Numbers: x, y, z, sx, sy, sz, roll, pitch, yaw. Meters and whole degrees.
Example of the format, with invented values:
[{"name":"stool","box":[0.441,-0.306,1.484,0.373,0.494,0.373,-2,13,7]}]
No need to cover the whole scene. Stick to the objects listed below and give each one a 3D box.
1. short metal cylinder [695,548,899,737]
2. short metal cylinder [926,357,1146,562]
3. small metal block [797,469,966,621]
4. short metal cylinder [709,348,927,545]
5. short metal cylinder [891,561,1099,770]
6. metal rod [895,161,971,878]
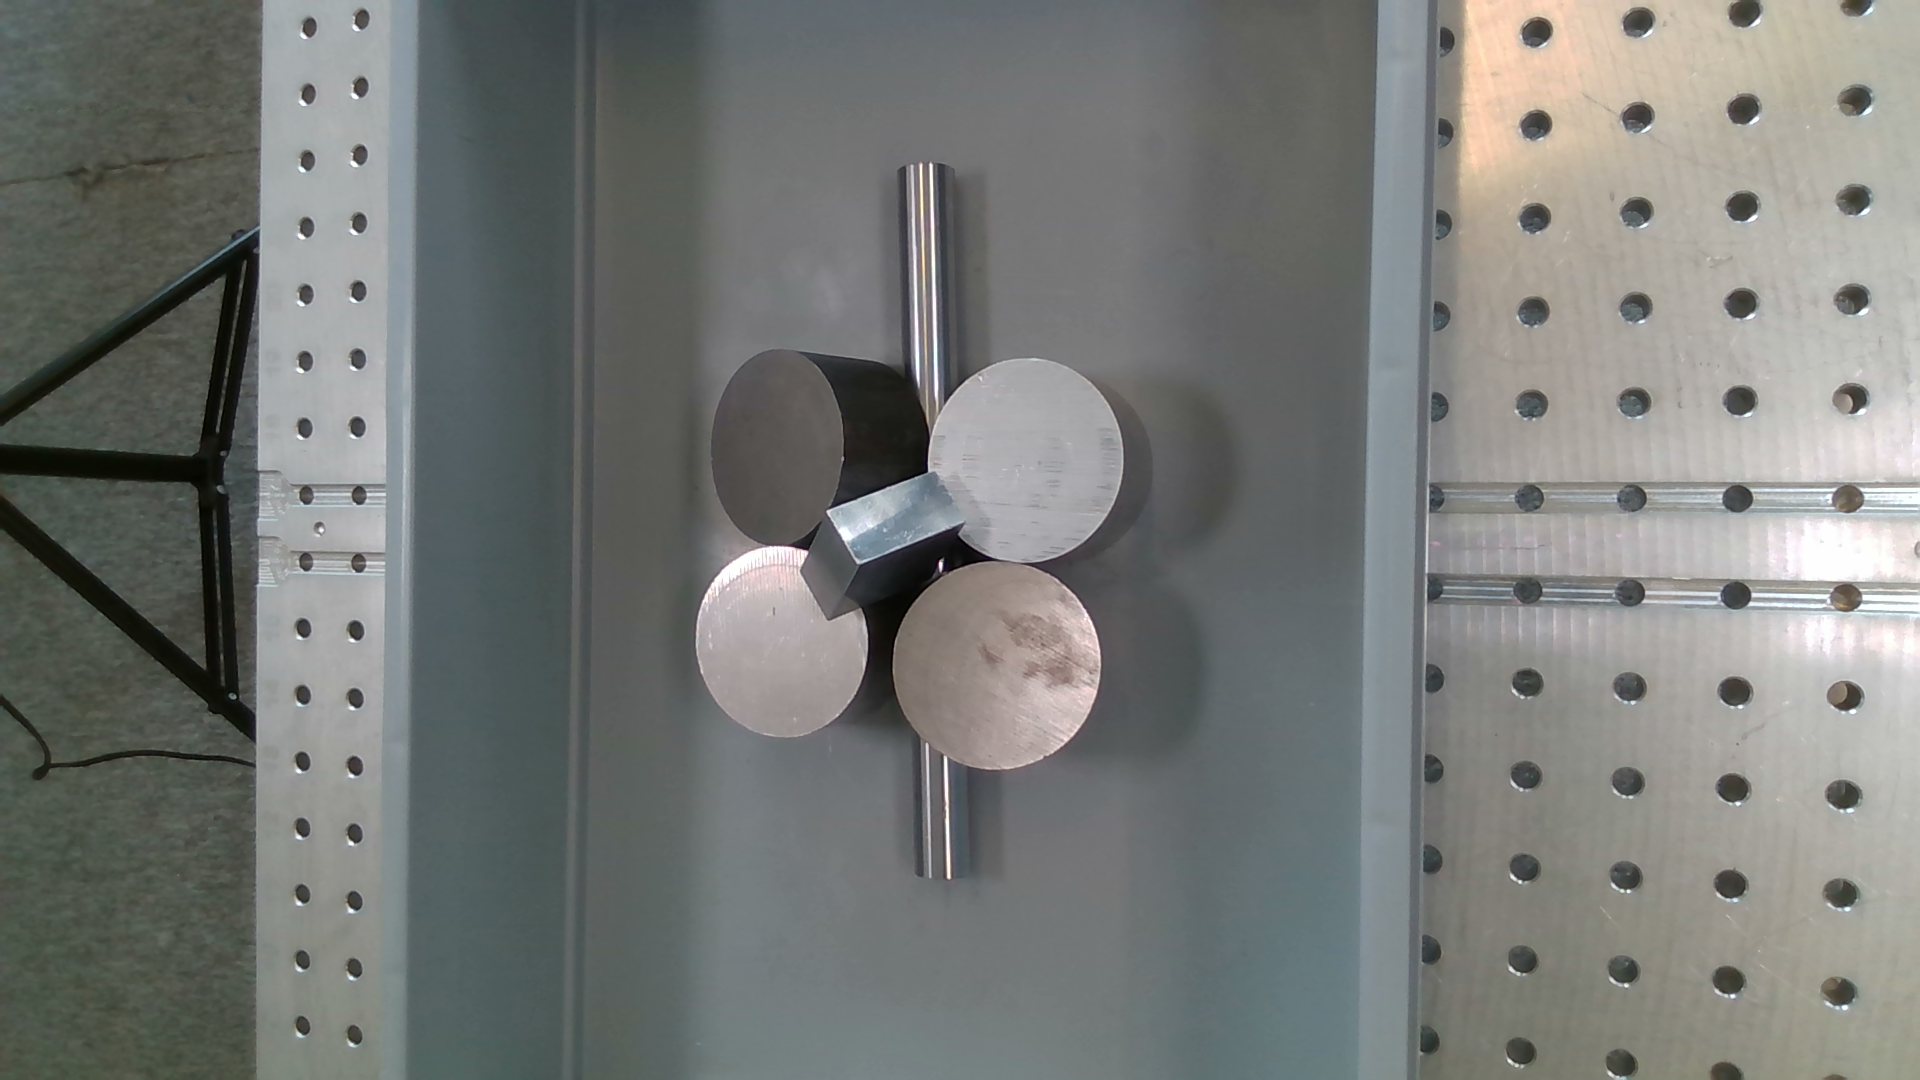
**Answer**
[{"name":"short metal cylinder","box":[-0.067,0.042,0.596,0.080,0.050,0.080,0,91,20]},{"name":"short metal cylinder","box":[0.033,-0.031,0.559,0.080,0.050,0.080,0,91,20]},{"name":"small metal block","box":[-0.032,0.003,0.545,0.025,0.050,0.050,58,150,17]},{"name":"short metal cylinder","box":[-0.060,-0.038,0.580,0.080,0.050,0.080,1,92,40]},{"name":"short metal cylinder","box":[0.012,0.048,0.553,0.080,0.050,0.080,0,90,-3]},{"name":"metal rod","box":[-0.012,-0.008,0.588,0.025,0.025,0.300,-1,90,20]}]
